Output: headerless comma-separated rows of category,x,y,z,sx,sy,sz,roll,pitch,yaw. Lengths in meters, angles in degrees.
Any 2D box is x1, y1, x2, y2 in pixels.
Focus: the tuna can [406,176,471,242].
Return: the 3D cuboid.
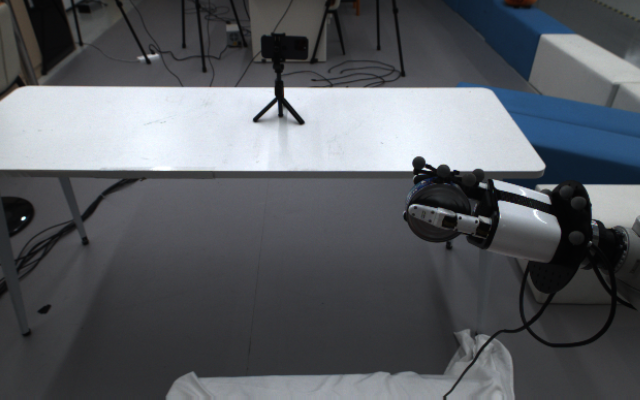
tuna can,0.162,0.010,0.662,0.085,0.085,0.034,5,18,4
